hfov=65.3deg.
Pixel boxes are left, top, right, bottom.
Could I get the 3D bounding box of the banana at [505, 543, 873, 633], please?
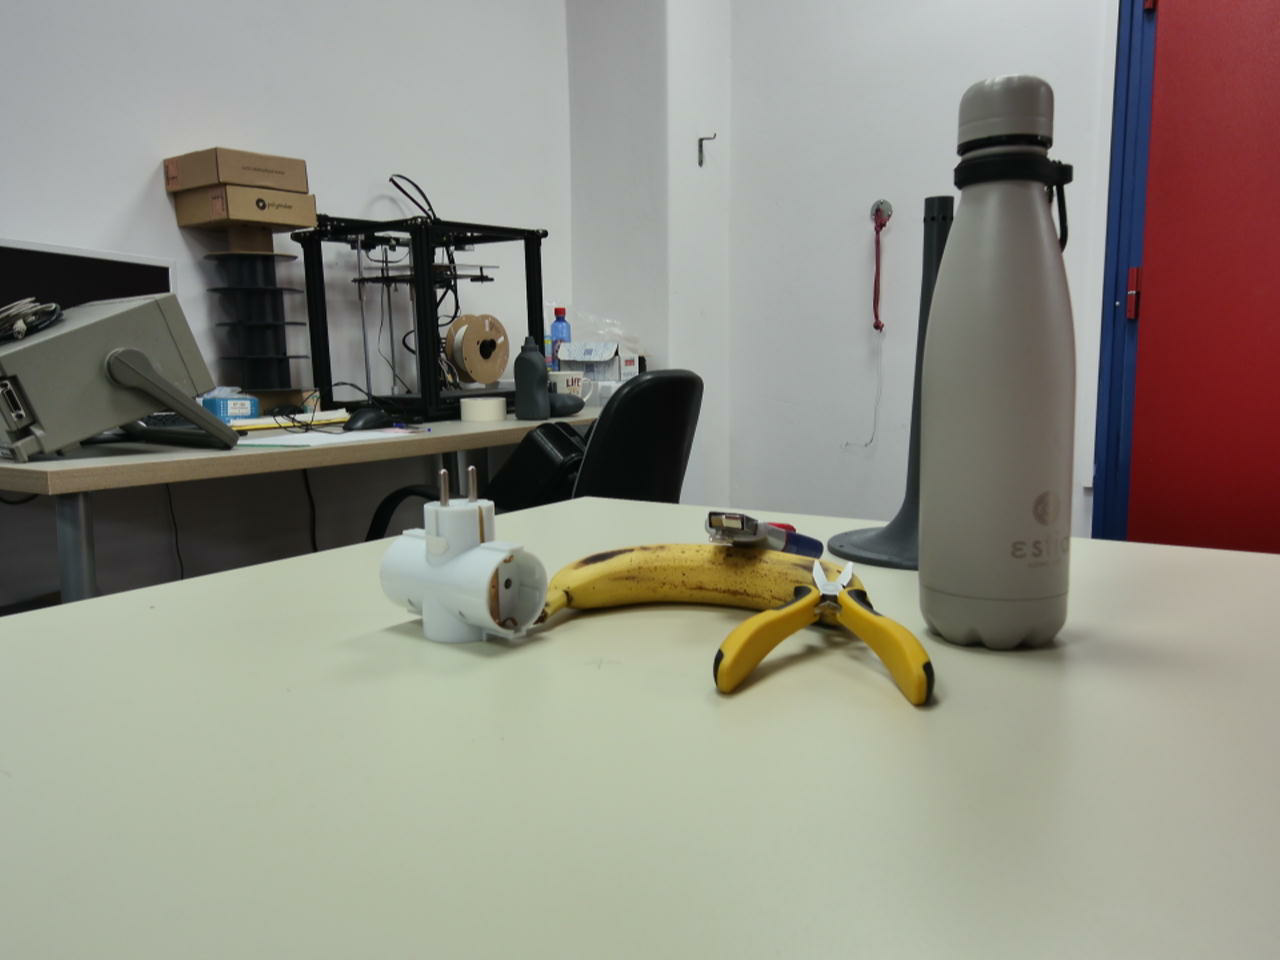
[{"bbox_3d":[0.032,0.059,0.562,0.186,0.038,0.097,1,5,8],"label":"banana"}]
